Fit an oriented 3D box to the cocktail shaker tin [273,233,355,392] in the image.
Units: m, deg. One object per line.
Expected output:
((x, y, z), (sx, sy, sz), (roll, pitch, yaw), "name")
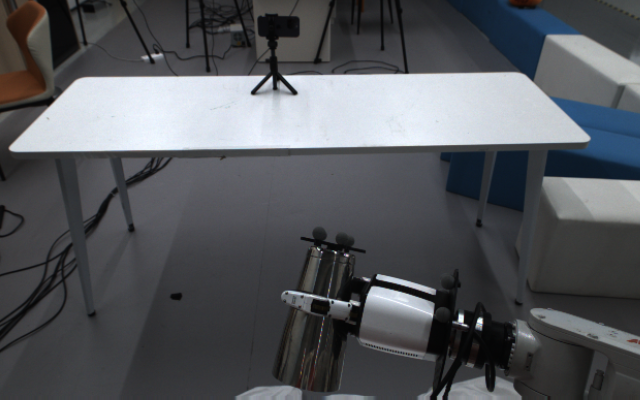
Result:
((0.001, 0.151, 0.639), (0.093, 0.170, 0.093), (12, -5, 1), "cocktail shaker tin")
